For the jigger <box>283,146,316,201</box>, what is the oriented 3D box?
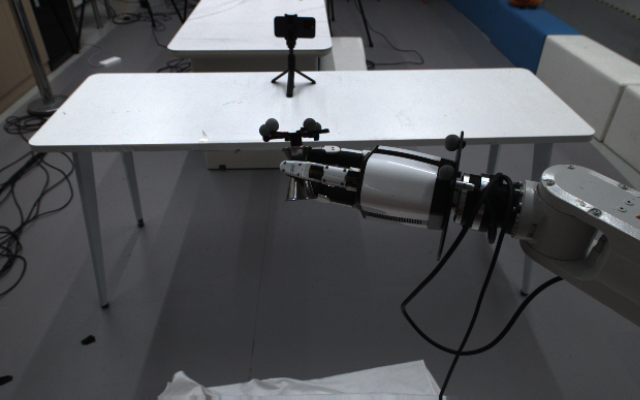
[{"bbox_3d":[-0.028,-0.034,0.629,0.043,0.071,0.043,-4,1,0],"label":"jigger"}]
